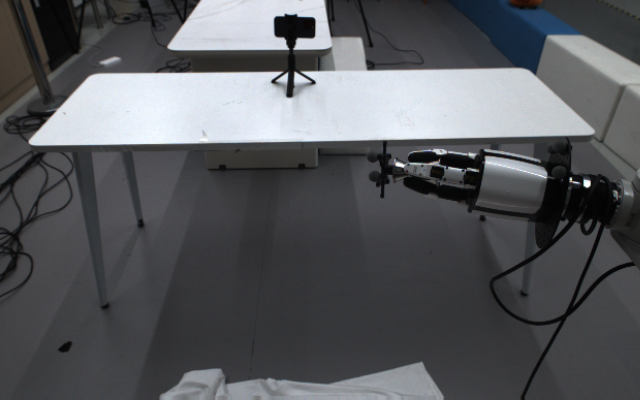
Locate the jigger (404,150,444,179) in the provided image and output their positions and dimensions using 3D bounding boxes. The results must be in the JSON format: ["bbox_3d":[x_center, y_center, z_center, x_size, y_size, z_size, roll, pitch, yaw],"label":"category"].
[{"bbox_3d":[0.154,-0.049,0.736,0.071,0.043,0.043,4,34,18],"label":"jigger"}]
